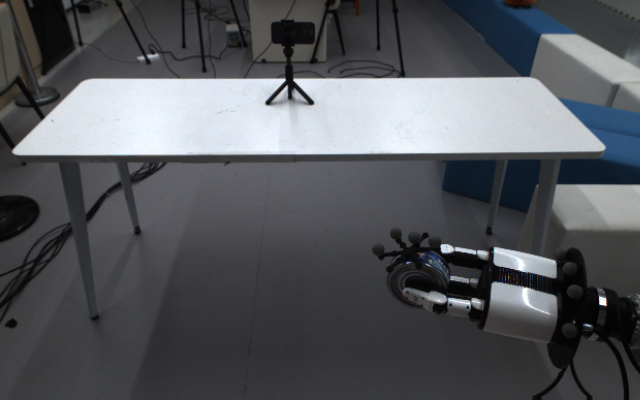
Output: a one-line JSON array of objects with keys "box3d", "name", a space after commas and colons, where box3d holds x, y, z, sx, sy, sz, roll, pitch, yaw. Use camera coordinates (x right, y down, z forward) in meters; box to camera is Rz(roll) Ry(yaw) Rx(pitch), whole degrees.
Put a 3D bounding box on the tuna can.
[{"box3d": [0.140, 0.109, 0.677, 0.085, 0.085, 0.034, 11, 34, 13], "name": "tuna can"}]
